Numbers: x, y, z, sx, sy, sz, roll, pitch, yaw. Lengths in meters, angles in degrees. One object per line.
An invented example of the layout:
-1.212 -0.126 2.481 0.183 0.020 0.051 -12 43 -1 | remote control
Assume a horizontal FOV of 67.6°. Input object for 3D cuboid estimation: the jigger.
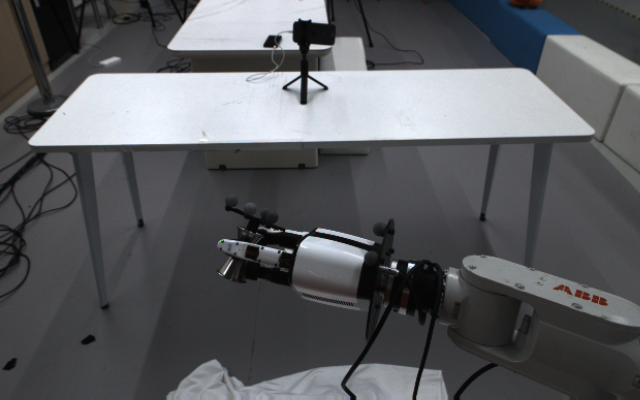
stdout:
-0.107 0.071 0.646 0.043 0.071 0.043 24 -2 1 | jigger
